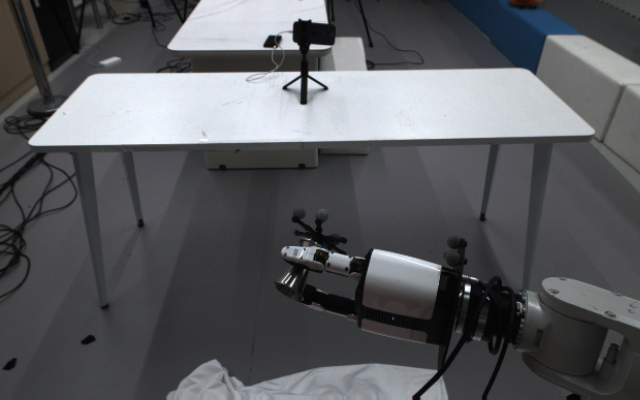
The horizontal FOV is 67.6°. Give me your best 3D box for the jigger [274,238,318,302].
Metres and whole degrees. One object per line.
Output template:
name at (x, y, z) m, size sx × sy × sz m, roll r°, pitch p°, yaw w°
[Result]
jigger at (-0.025, 0.084, 0.611) m, size 0.043 × 0.043 × 0.071 m, roll 19°, pitch 61°, yaw 23°
